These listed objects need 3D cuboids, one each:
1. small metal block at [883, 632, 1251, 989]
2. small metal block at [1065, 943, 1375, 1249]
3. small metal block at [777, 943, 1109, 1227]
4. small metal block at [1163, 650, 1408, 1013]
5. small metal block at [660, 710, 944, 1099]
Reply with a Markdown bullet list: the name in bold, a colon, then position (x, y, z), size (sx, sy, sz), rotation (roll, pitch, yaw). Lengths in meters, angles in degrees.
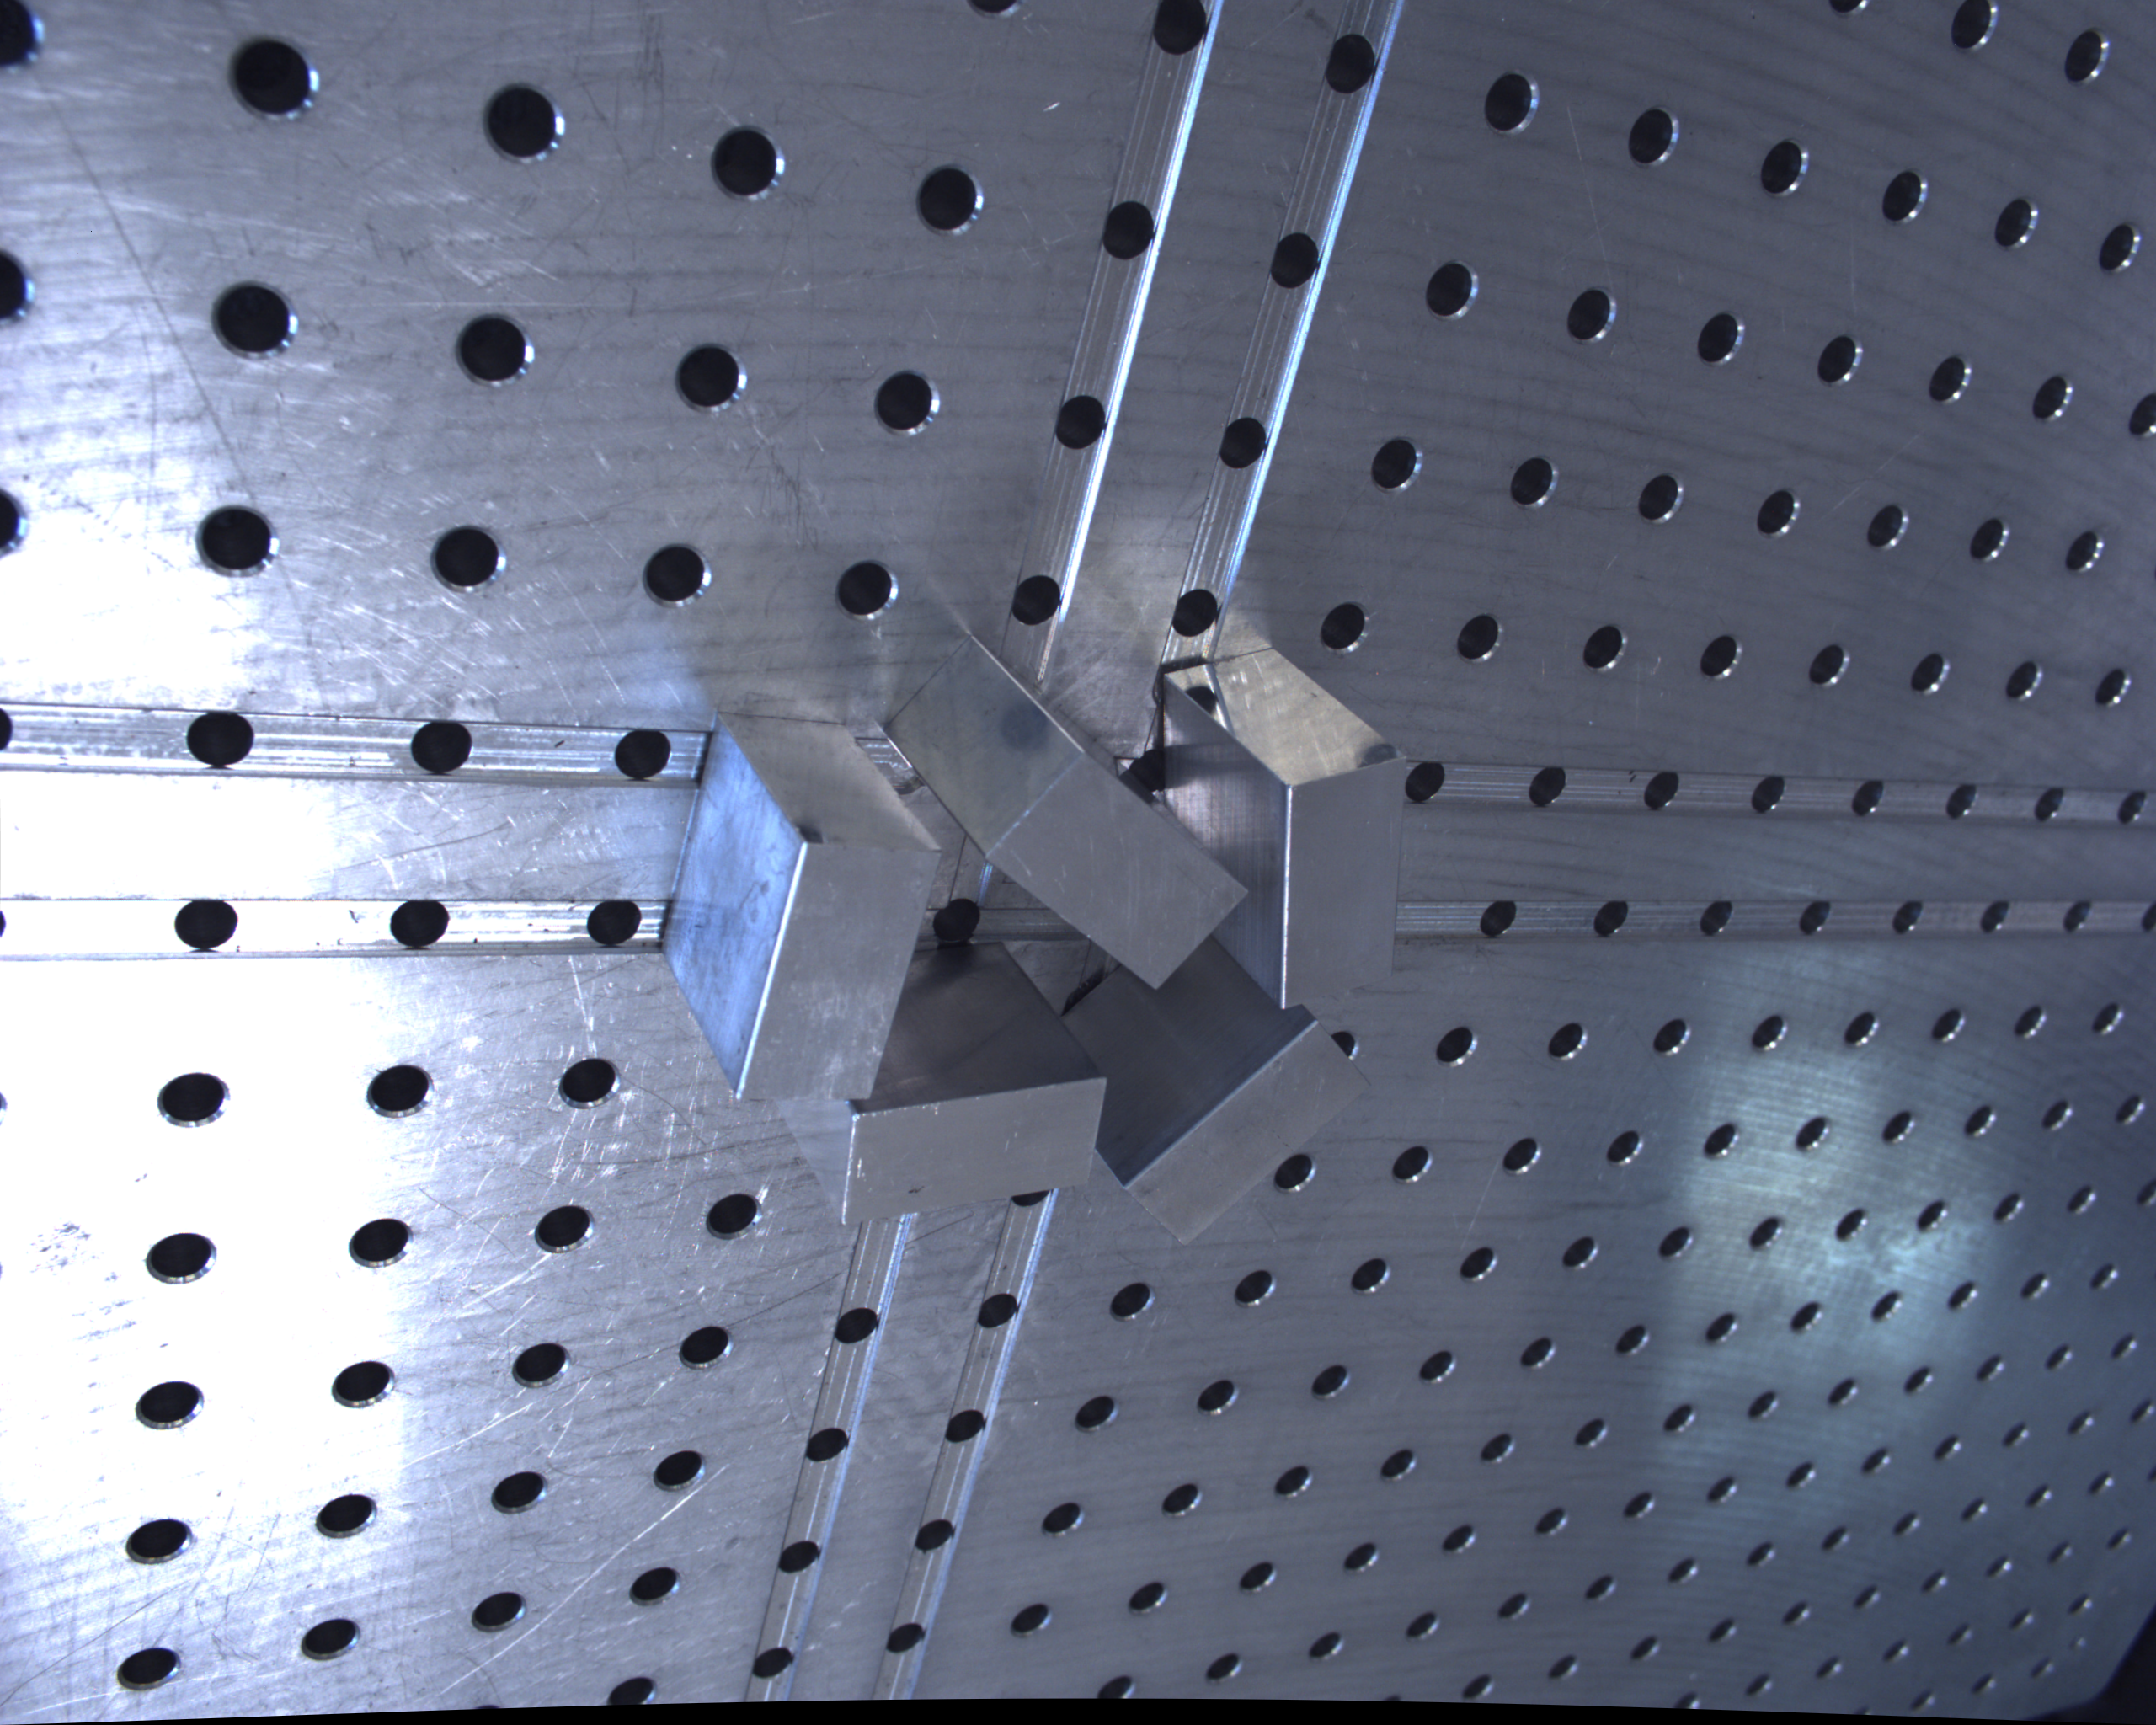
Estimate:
- **small metal block**: position (-0.002, -0.010, 0.387), size (0.025, 0.050, 0.050), rotation (-47, 130, 6)
- **small metal block**: position (0.024, 0.043, 0.433), size (0.050, 0.050, 0.025), rotation (-41, 128, -1)
- **small metal block**: position (-0.029, 0.041, 0.404), size (0.050, 0.050, 0.025), rotation (-5, 121, -26)
- **small metal block**: position (0.040, -0.007, 0.411), size (0.025, 0.050, 0.050), rotation (-15, 124, -20)
- **small metal block**: position (-0.051, 0.007, 0.371), size (0.025, 0.050, 0.050), rotation (4, 117, -30)
